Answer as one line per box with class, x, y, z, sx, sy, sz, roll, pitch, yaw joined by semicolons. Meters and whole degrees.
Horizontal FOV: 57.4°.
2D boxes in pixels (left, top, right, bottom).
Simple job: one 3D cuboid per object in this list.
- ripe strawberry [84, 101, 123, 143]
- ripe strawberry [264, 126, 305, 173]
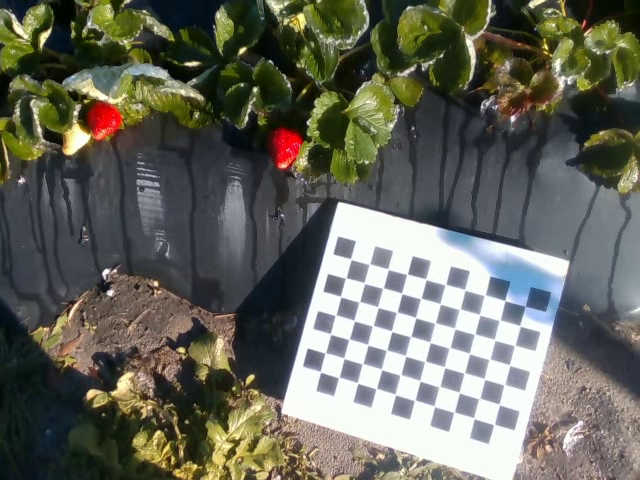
ripe strawberry;-0.230;-0.121;0.606;0.037;0.040;0.051;0;39;7
ripe strawberry;-0.037;-0.091;0.583;0.041;0.052;0.047;8;-41;6
